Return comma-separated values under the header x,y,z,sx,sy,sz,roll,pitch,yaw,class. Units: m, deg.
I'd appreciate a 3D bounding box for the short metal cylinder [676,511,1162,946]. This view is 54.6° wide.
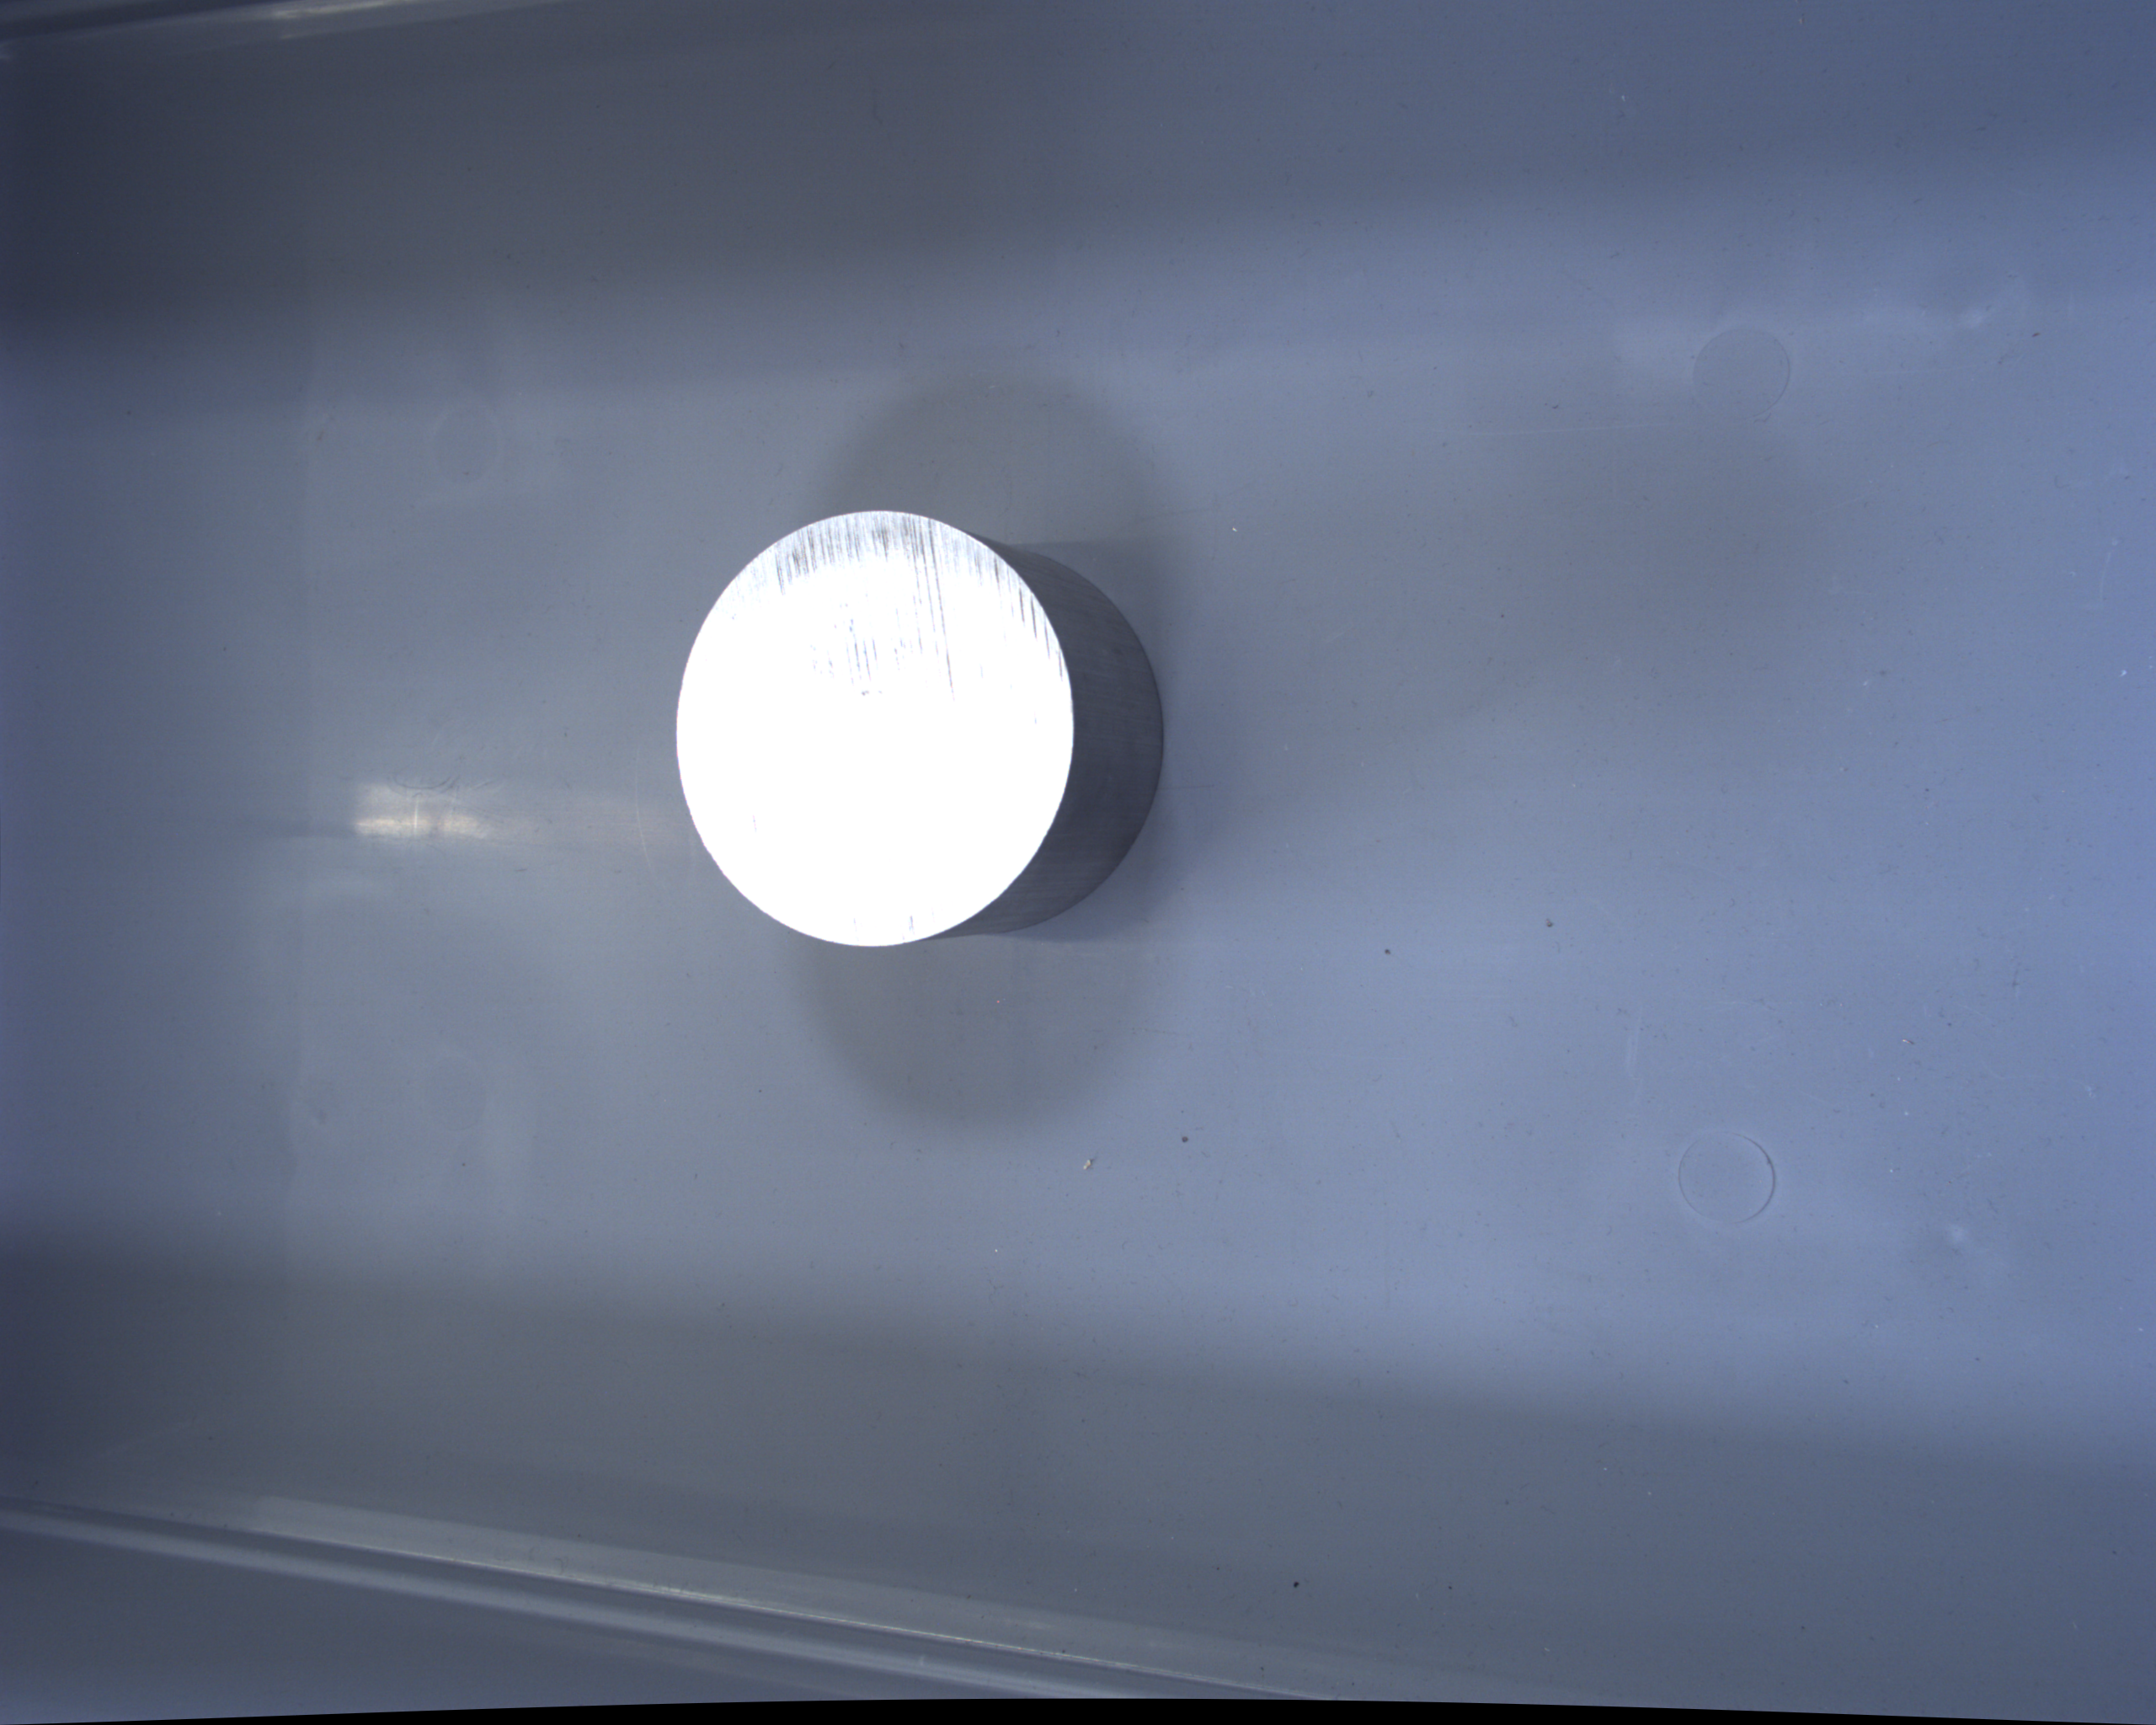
x,y,z,sx,sy,sz,roll,pitch,yaw,class
-0.030,-0.025,0.406,0.080,0.050,0.080,0,90,20,short metal cylinder
